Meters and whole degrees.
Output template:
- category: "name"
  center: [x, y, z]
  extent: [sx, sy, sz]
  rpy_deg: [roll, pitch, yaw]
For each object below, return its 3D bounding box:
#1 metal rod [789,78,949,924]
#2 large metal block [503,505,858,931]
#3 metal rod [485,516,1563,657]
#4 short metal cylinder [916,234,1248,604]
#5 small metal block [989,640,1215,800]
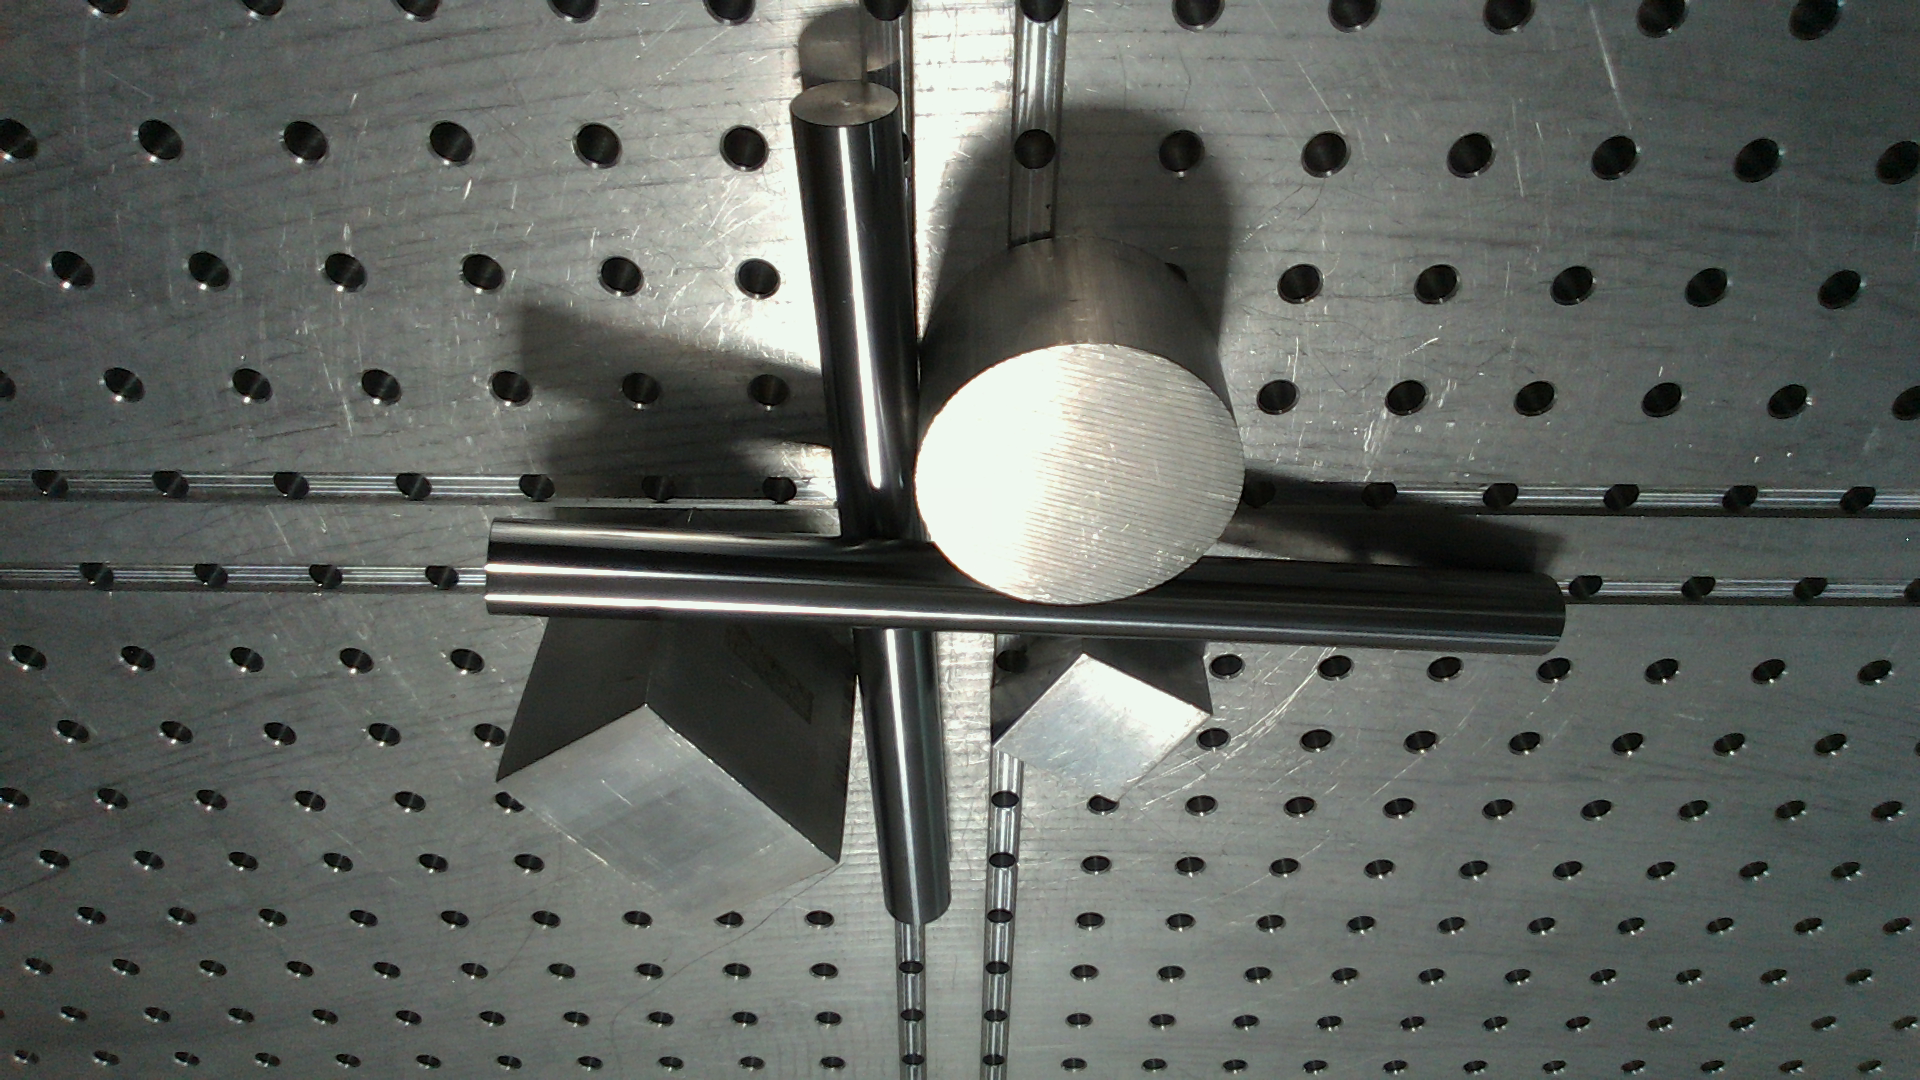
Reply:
- category: "metal rod"
  center: [-0.021, 0.015, 0.407]
  extent: [0.025, 0.025, 0.300]
  rpy_deg: [-2, 130, 1]
- category: "large metal block"
  center: [-0.075, 0.052, 0.399]
  extent: [0.050, 0.080, 0.080]
  rpy_deg: [-28, 125, 22]
- category: "metal rod"
  center: [0.028, 0.015, 0.381]
  extent: [0.301, 0.025, 0.025]
  rpy_deg: [3, 131, -13]
- category: "short metal cylinder"
  center: [0.030, -0.030, 0.352]
  extent: [0.080, 0.050, 0.080]
  rpy_deg: [0, 130, 0]
- category: "small metal block"
  center: [0.044, 0.051, 0.438]
  extent: [0.050, 0.025, 0.050]
  rpy_deg: [26, 125, -21]
